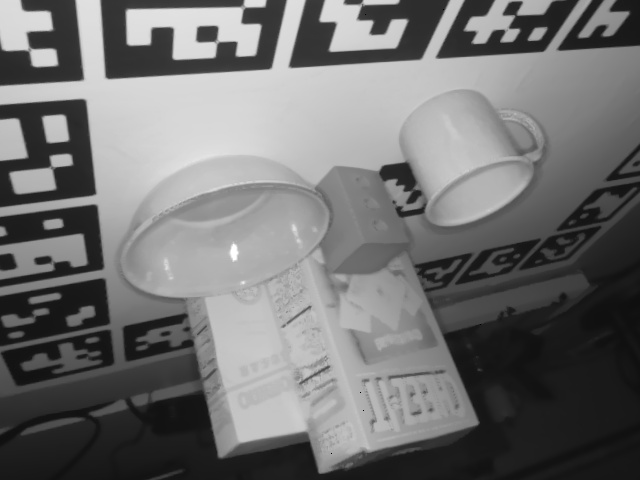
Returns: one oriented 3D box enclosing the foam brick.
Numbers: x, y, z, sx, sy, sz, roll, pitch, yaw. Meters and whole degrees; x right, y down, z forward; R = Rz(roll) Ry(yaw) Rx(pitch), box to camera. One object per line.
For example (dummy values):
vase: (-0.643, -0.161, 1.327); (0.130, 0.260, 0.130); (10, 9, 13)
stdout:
foam brick: (0.040, -0.022, 0.602); (0.053, 0.078, 0.050); (-1, 145, -33)

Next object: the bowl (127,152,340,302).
bowl: (-0.069, -0.017, 0.533); (0.163, 0.055, 0.160); (-16, 149, -9)

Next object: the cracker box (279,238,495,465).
cracker box: (0.058, 0.090, 0.652); (0.166, 0.214, 0.071); (12, 139, -42)

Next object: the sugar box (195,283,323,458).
sugar box: (-0.053, 0.101, 0.633); (0.094, 0.176, 0.044); (4, 142, -37)

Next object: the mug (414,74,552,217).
mug: (0.136, -0.079, 0.551); (0.118, 0.081, 0.092); (-16, 158, -13)
